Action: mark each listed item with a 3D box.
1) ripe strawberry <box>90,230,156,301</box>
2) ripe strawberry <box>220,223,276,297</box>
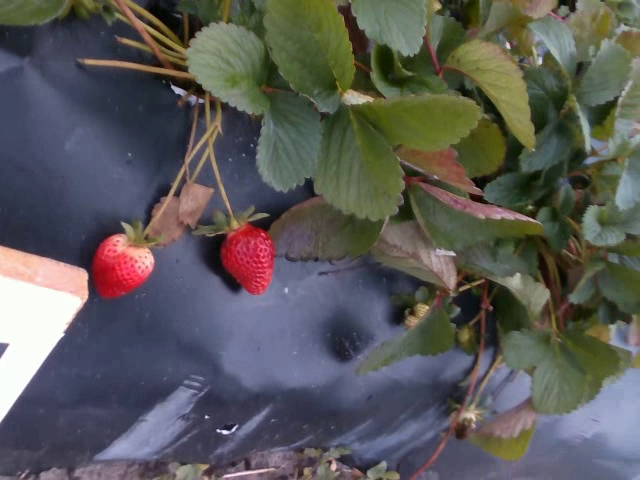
[{"bbox_3d":[-0.111,0.018,0.349,0.036,0.041,0.028,27,10,-30],"label":"ripe strawberry"},{"bbox_3d":[-0.044,0.013,0.394,0.044,0.059,0.042,-11,25,0],"label":"ripe strawberry"}]
